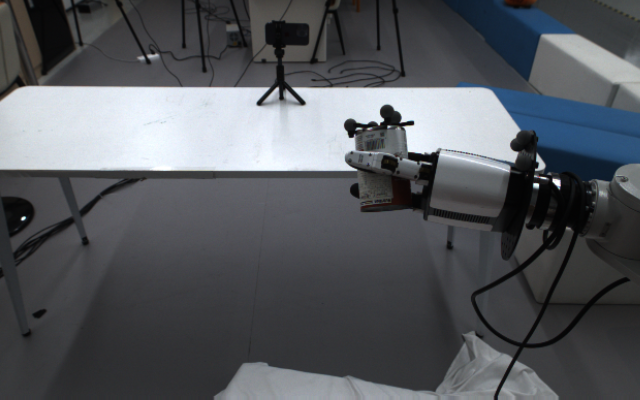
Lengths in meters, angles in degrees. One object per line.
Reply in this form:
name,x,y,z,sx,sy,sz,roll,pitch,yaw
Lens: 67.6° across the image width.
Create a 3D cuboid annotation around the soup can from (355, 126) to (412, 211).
soup can,0.082,-0.038,0.620,0.067,0.101,0.067,-5,-5,0
